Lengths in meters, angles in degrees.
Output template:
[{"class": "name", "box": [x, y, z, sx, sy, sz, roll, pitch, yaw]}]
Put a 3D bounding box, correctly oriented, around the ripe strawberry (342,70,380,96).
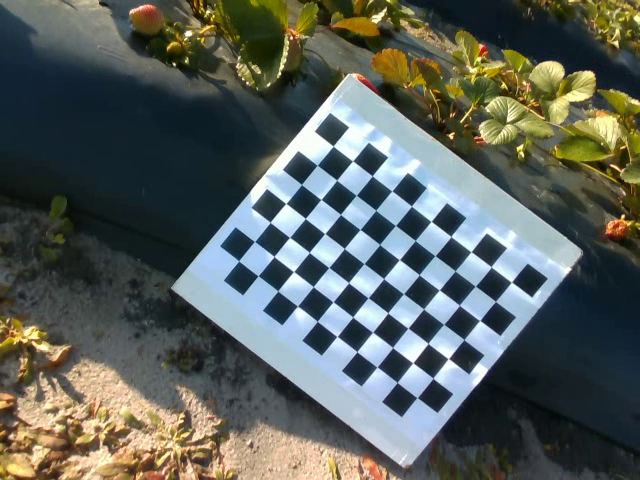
[{"class": "ripe strawberry", "box": [0.048, -0.183, 0.724, 0.063, 0.045, 0.044, 21, -4, -2]}]
